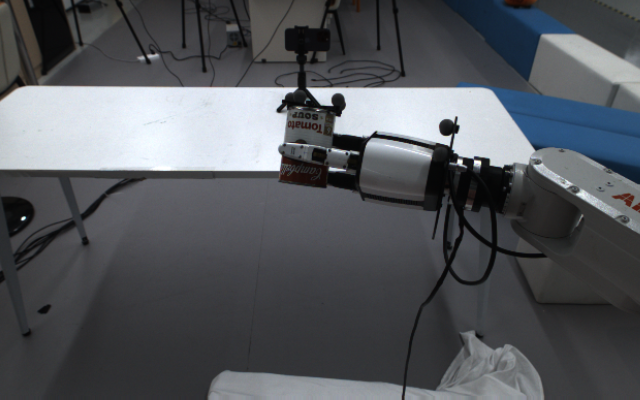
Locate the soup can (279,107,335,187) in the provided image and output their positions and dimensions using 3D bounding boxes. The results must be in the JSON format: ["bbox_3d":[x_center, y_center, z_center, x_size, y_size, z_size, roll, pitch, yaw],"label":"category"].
[{"bbox_3d":[-0.017,-0.071,0.659,0.067,0.101,0.067,7,4,0],"label":"soup can"}]
